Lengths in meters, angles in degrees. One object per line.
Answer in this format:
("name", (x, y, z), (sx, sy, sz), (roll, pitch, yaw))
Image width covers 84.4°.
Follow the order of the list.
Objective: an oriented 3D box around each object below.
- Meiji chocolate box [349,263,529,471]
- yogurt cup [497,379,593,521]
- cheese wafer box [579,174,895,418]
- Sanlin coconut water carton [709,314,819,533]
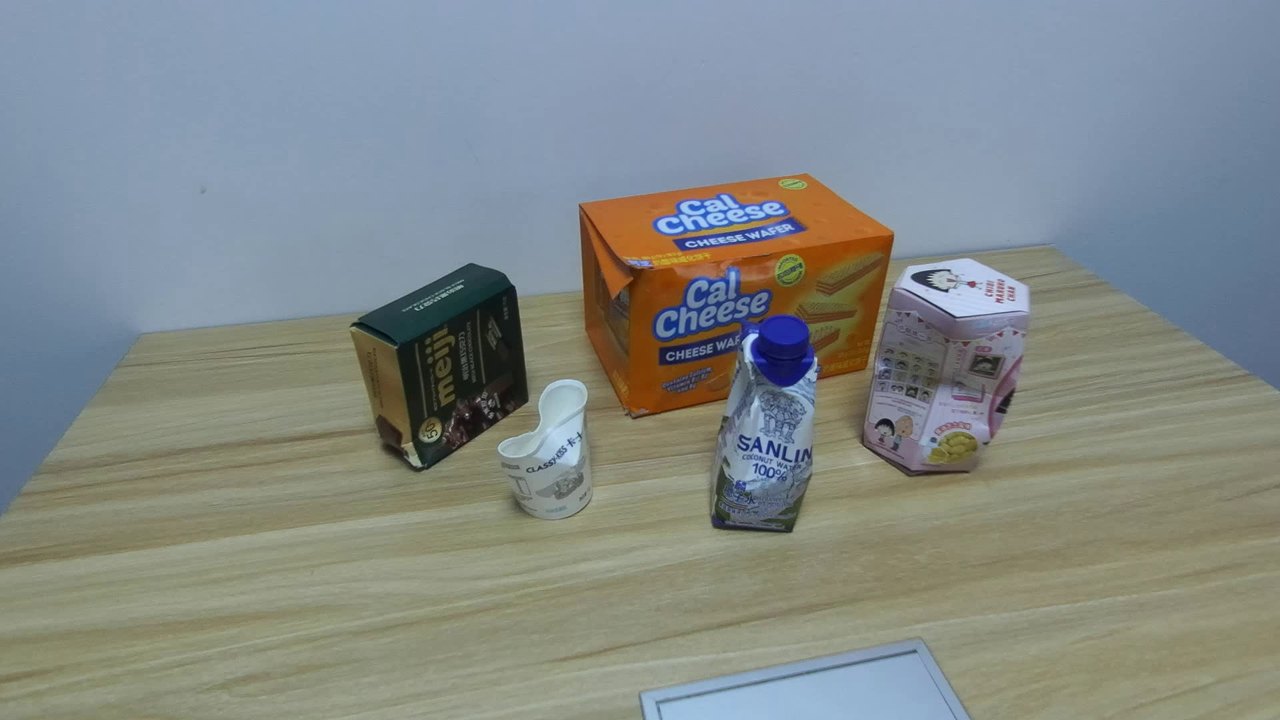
("Meiji chocolate box", (-0.144, 0.002, 0.528), (0.058, 0.116, 0.123), (24, 40, 31))
("yogurt cup", (-0.061, 0.062, 0.469), (0.054, 0.071, 0.075), (-3, 33, -2))
("cheese wafer box", (0.071, -0.064, 0.598), (0.227, 0.137, 0.149), (-10, 36, -15))
("Sanlin coconut water carton", (0.083, 0.035, 0.442), (0.057, 0.144, 0.068), (7, 26, -1))
